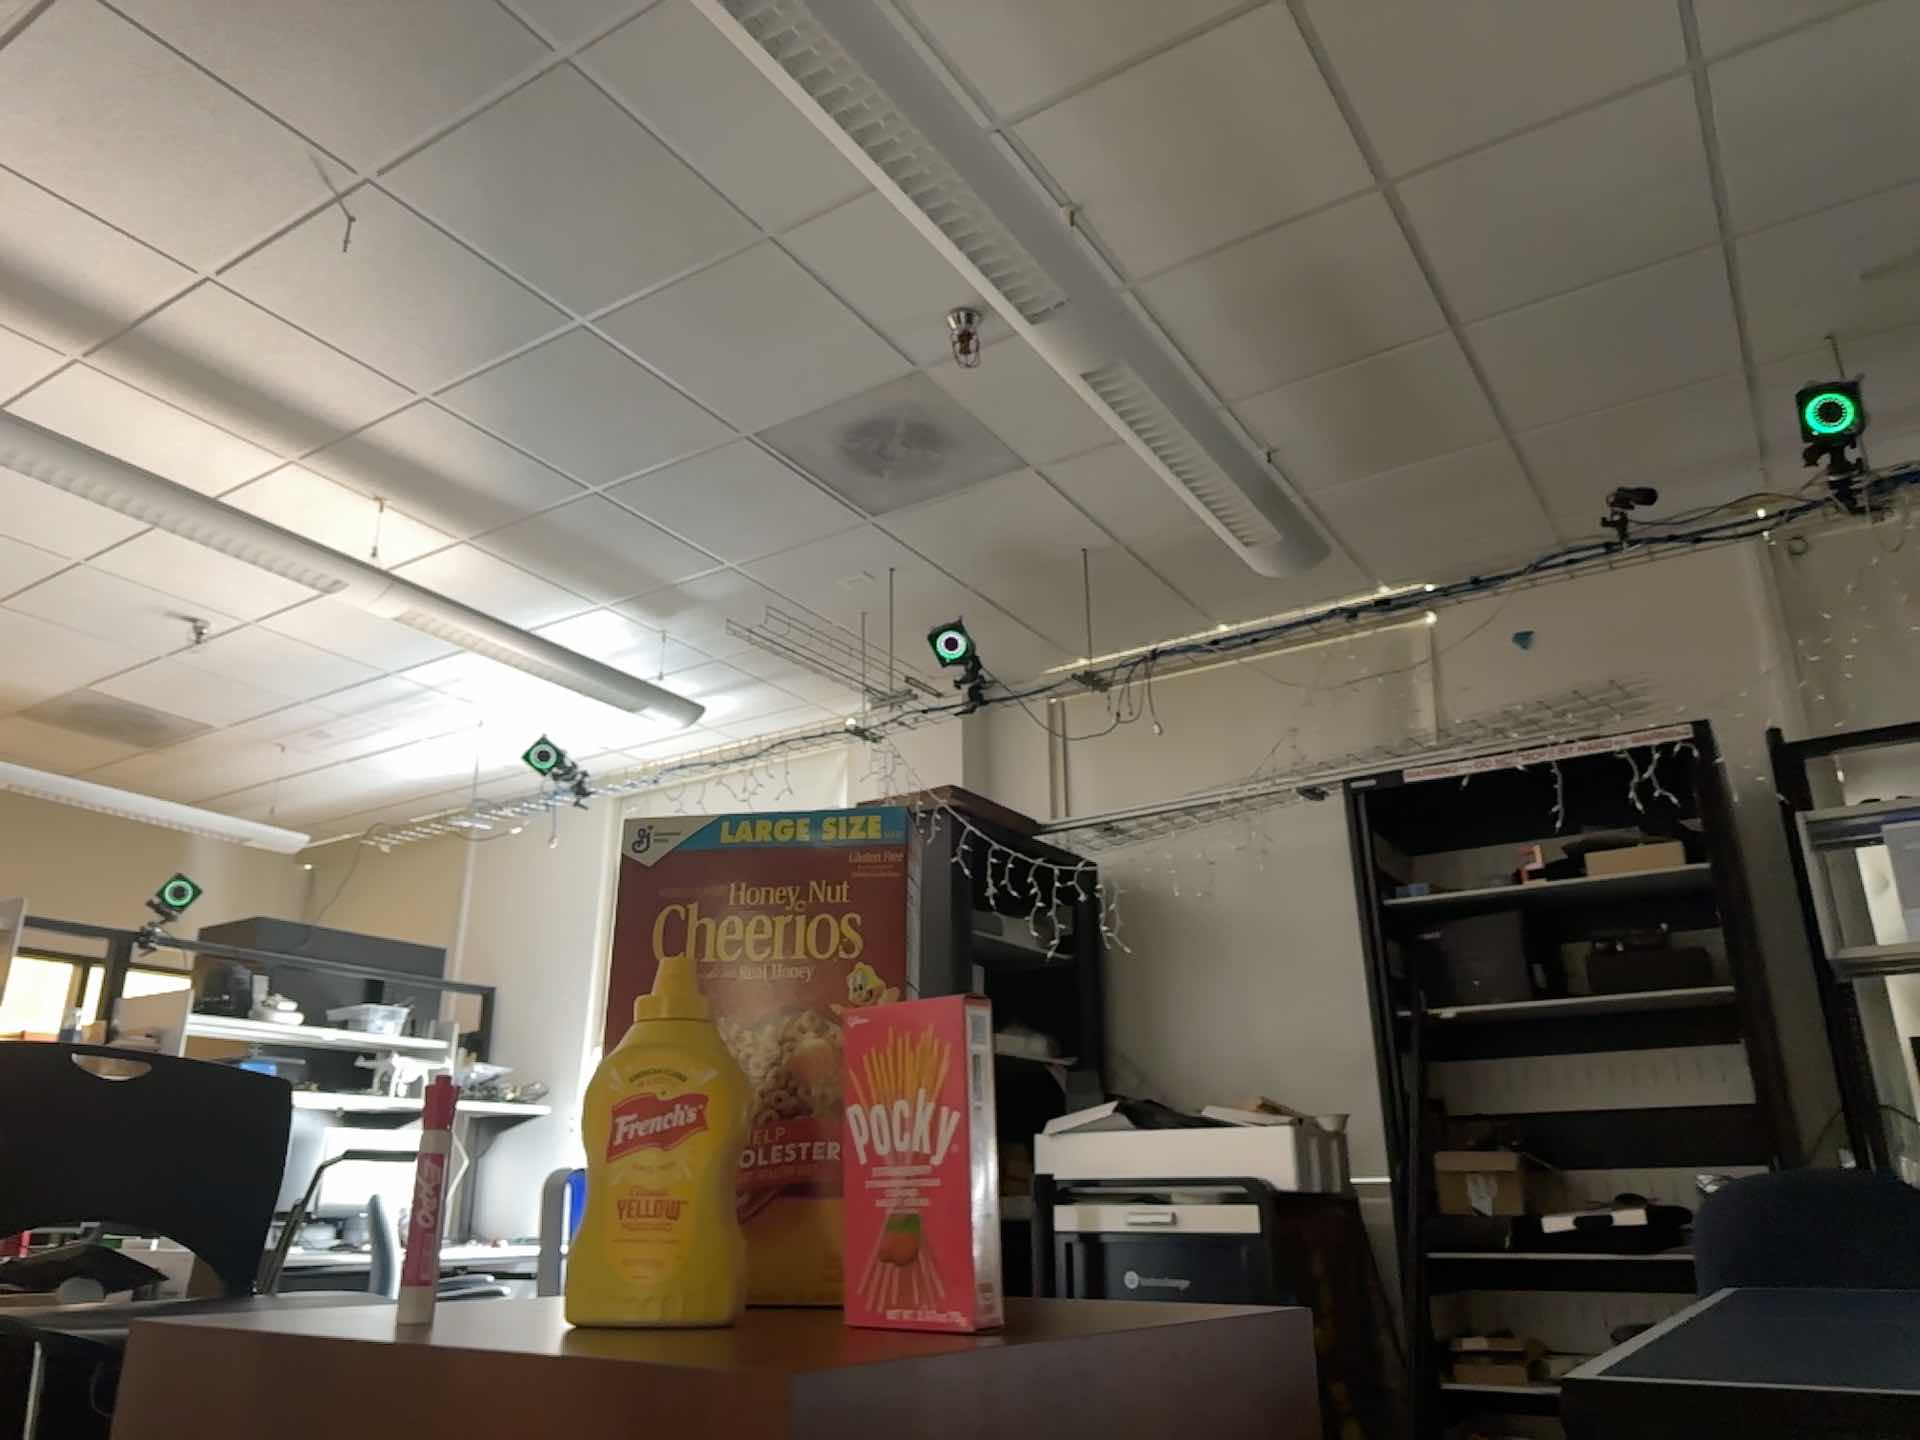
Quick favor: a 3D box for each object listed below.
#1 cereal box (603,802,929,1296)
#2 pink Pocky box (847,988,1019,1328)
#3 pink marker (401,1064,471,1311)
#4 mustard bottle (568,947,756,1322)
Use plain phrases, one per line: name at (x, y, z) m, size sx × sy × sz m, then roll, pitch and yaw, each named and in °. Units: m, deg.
cereal box at (-0.126, 0.208, 0.880) m, size 0.195 × 0.296 × 0.065 m, roll -1°, pitch -19°, yaw 5°
pink Pocky box at (-0.016, 0.214, 0.667) m, size 0.084 × 0.154 × 0.029 m, roll -12°, pitch -22°, yaw 30°
pink marker at (-0.272, 0.242, 0.706) m, size 0.020 × 0.121 × 0.020 m, roll 1°, pitch -19°, yaw 0°
mustard bottle at (-0.151, 0.210, 0.700) m, size 0.092 × 0.184 × 0.054 m, roll -4°, pitch -19°, yaw 8°
